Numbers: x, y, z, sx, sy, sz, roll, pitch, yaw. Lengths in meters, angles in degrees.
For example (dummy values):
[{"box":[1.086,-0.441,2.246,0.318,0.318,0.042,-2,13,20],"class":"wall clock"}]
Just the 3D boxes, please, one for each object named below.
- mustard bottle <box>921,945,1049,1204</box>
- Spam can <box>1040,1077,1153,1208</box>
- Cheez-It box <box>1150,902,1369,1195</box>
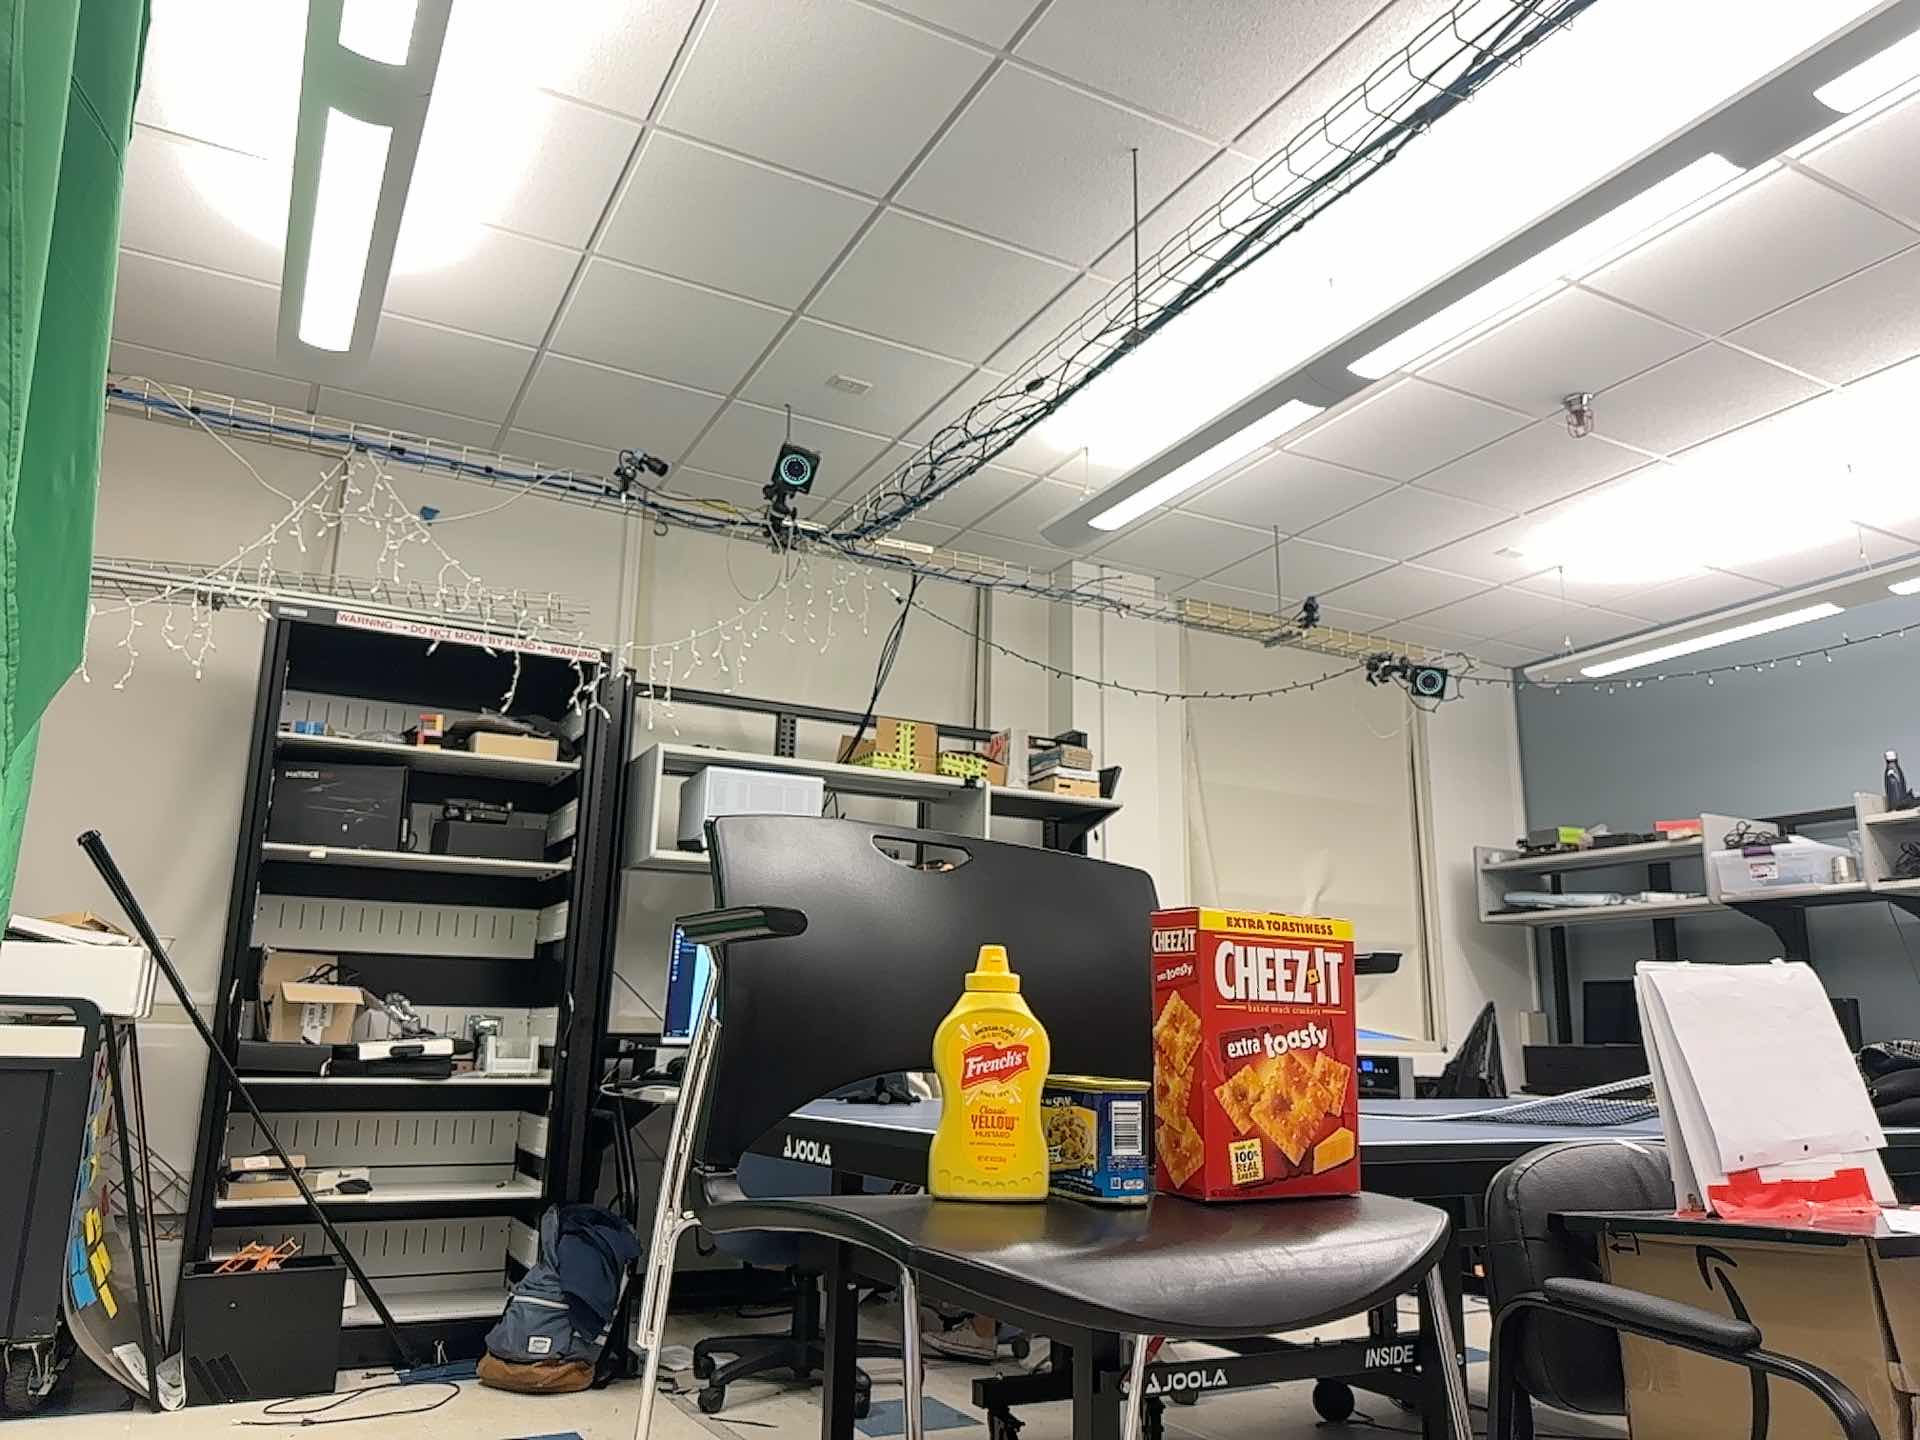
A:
[{"box":[0.021,0.261,1.007,0.092,0.184,0.054,5,-11,-10],"class":"mustard bottle"},{"box":[0.101,0.320,1.031,0.056,0.083,0.100,9,-13,-24],"class":"Spam can"},{"box":[0.243,0.263,1.094,0.159,0.214,0.062,7,-15,-26],"class":"Cheez-It box"}]
